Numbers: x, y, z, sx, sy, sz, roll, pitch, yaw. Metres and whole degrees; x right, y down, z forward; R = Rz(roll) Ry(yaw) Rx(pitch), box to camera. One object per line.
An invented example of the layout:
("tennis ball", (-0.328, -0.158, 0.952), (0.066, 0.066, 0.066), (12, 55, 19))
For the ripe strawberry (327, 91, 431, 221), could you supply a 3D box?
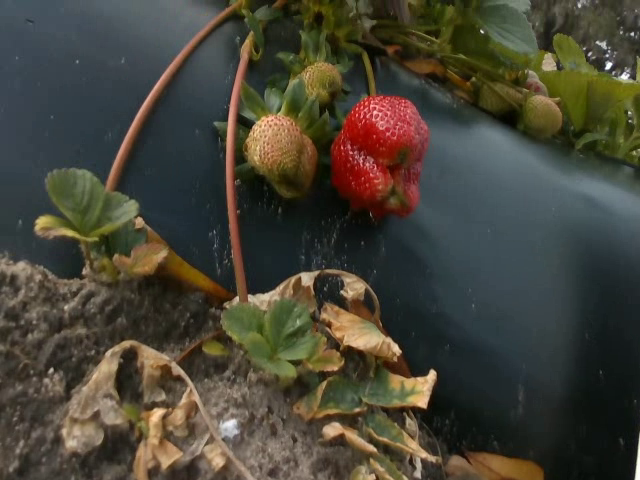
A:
("ripe strawberry", (0.037, -0.045, 0.290), (0.066, 0.075, 0.052), (9, -18, -20))
